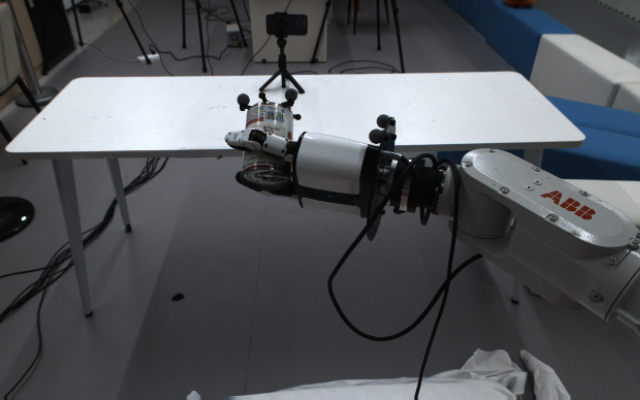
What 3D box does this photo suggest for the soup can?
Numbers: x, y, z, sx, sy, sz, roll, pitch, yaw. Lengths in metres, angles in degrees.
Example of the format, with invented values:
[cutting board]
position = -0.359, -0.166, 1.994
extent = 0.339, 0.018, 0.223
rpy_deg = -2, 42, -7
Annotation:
[soup can]
position = -0.070, -0.073, 0.656
extent = 0.067, 0.067, 0.101
rpy_deg = 1, 68, -1
